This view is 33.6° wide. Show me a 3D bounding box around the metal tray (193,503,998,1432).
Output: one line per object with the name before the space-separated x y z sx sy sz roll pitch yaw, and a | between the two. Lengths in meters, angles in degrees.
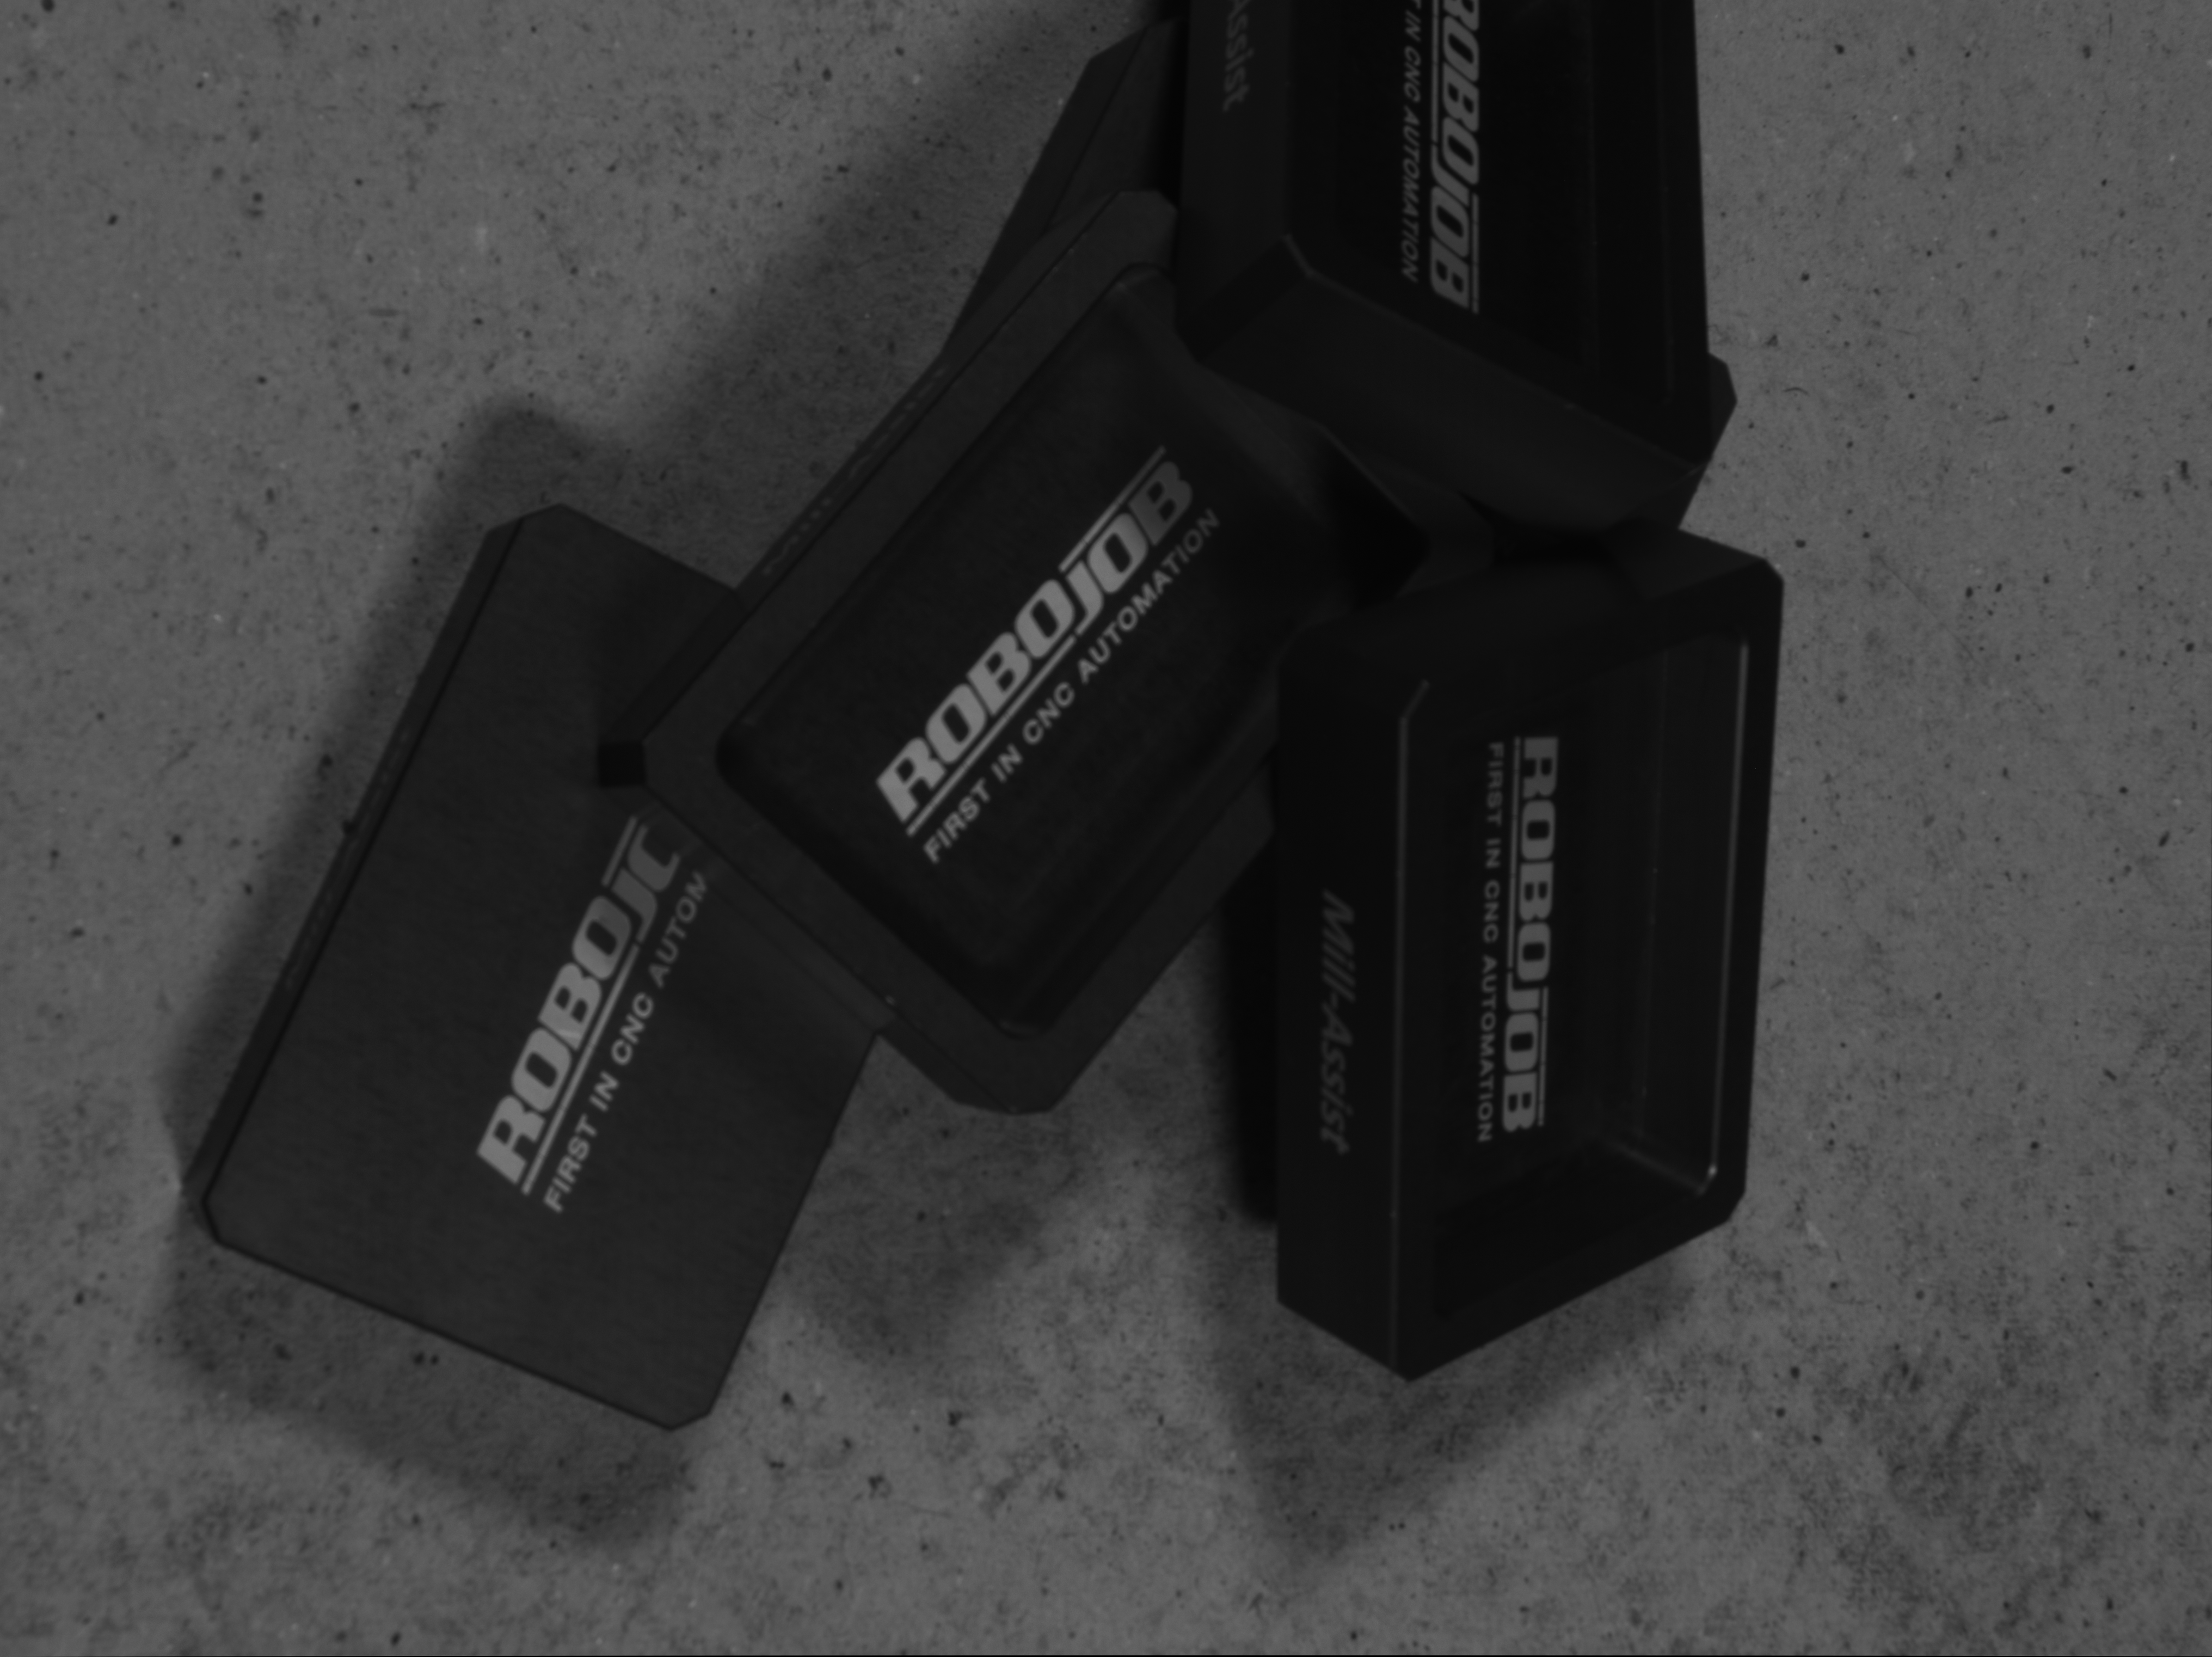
metal tray | -0.083 0.023 0.610 0.090 0.030 0.130 26 81 -18

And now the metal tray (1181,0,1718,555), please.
metal tray | 0.060 -0.121 0.626 0.090 0.030 0.130 22 55 -28

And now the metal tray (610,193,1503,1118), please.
metal tray | -0.007 -0.029 0.607 0.090 0.030 0.130 43 76 -15

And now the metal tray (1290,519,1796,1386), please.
metal tray | 0.075 0.021 0.632 0.090 0.030 0.130 -20 121 -35

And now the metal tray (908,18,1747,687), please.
metal tray | 0.041 -0.072 0.656 0.130 0.030 0.090 29 81 -18
